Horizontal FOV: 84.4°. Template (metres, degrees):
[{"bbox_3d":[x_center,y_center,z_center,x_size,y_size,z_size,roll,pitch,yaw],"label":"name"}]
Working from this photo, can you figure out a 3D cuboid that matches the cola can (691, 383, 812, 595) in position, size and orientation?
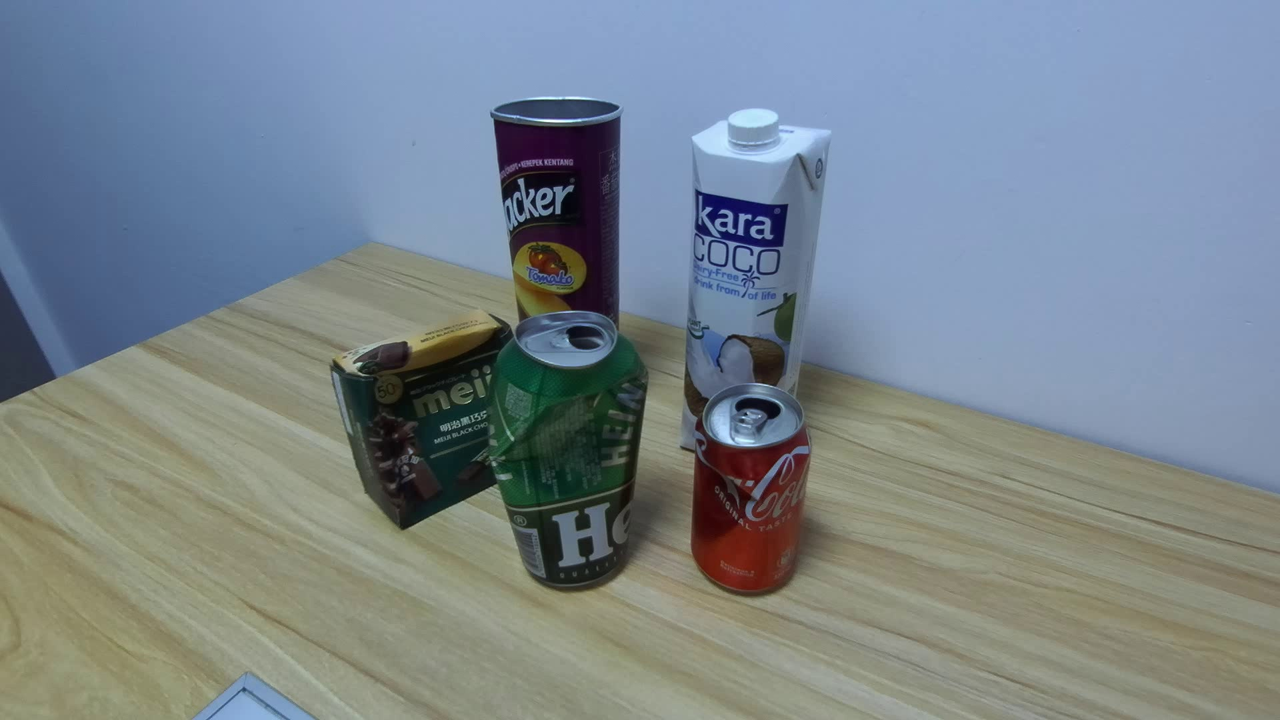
[{"bbox_3d":[0.066,0.077,0.412,0.065,0.117,0.072,-9,33,-14],"label":"cola can"}]

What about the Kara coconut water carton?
[{"bbox_3d":[0.073,-0.043,0.475,0.076,0.245,0.075,17,35,27],"label":"Kara coconut water carton"}]

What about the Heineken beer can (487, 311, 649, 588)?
[{"bbox_3d":[-0.042,0.055,0.404,0.077,0.164,0.066,12,34,14],"label":"Heineken beer can"}]

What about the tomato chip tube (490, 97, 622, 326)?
[{"bbox_3d":[-0.053,-0.066,0.526,0.077,0.234,0.080,-25,39,-34],"label":"tomato chip tube"}]

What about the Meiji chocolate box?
[{"bbox_3d":[-0.143,0.039,0.492,0.113,0.111,0.058,-26,35,-38],"label":"Meiji chocolate box"}]
